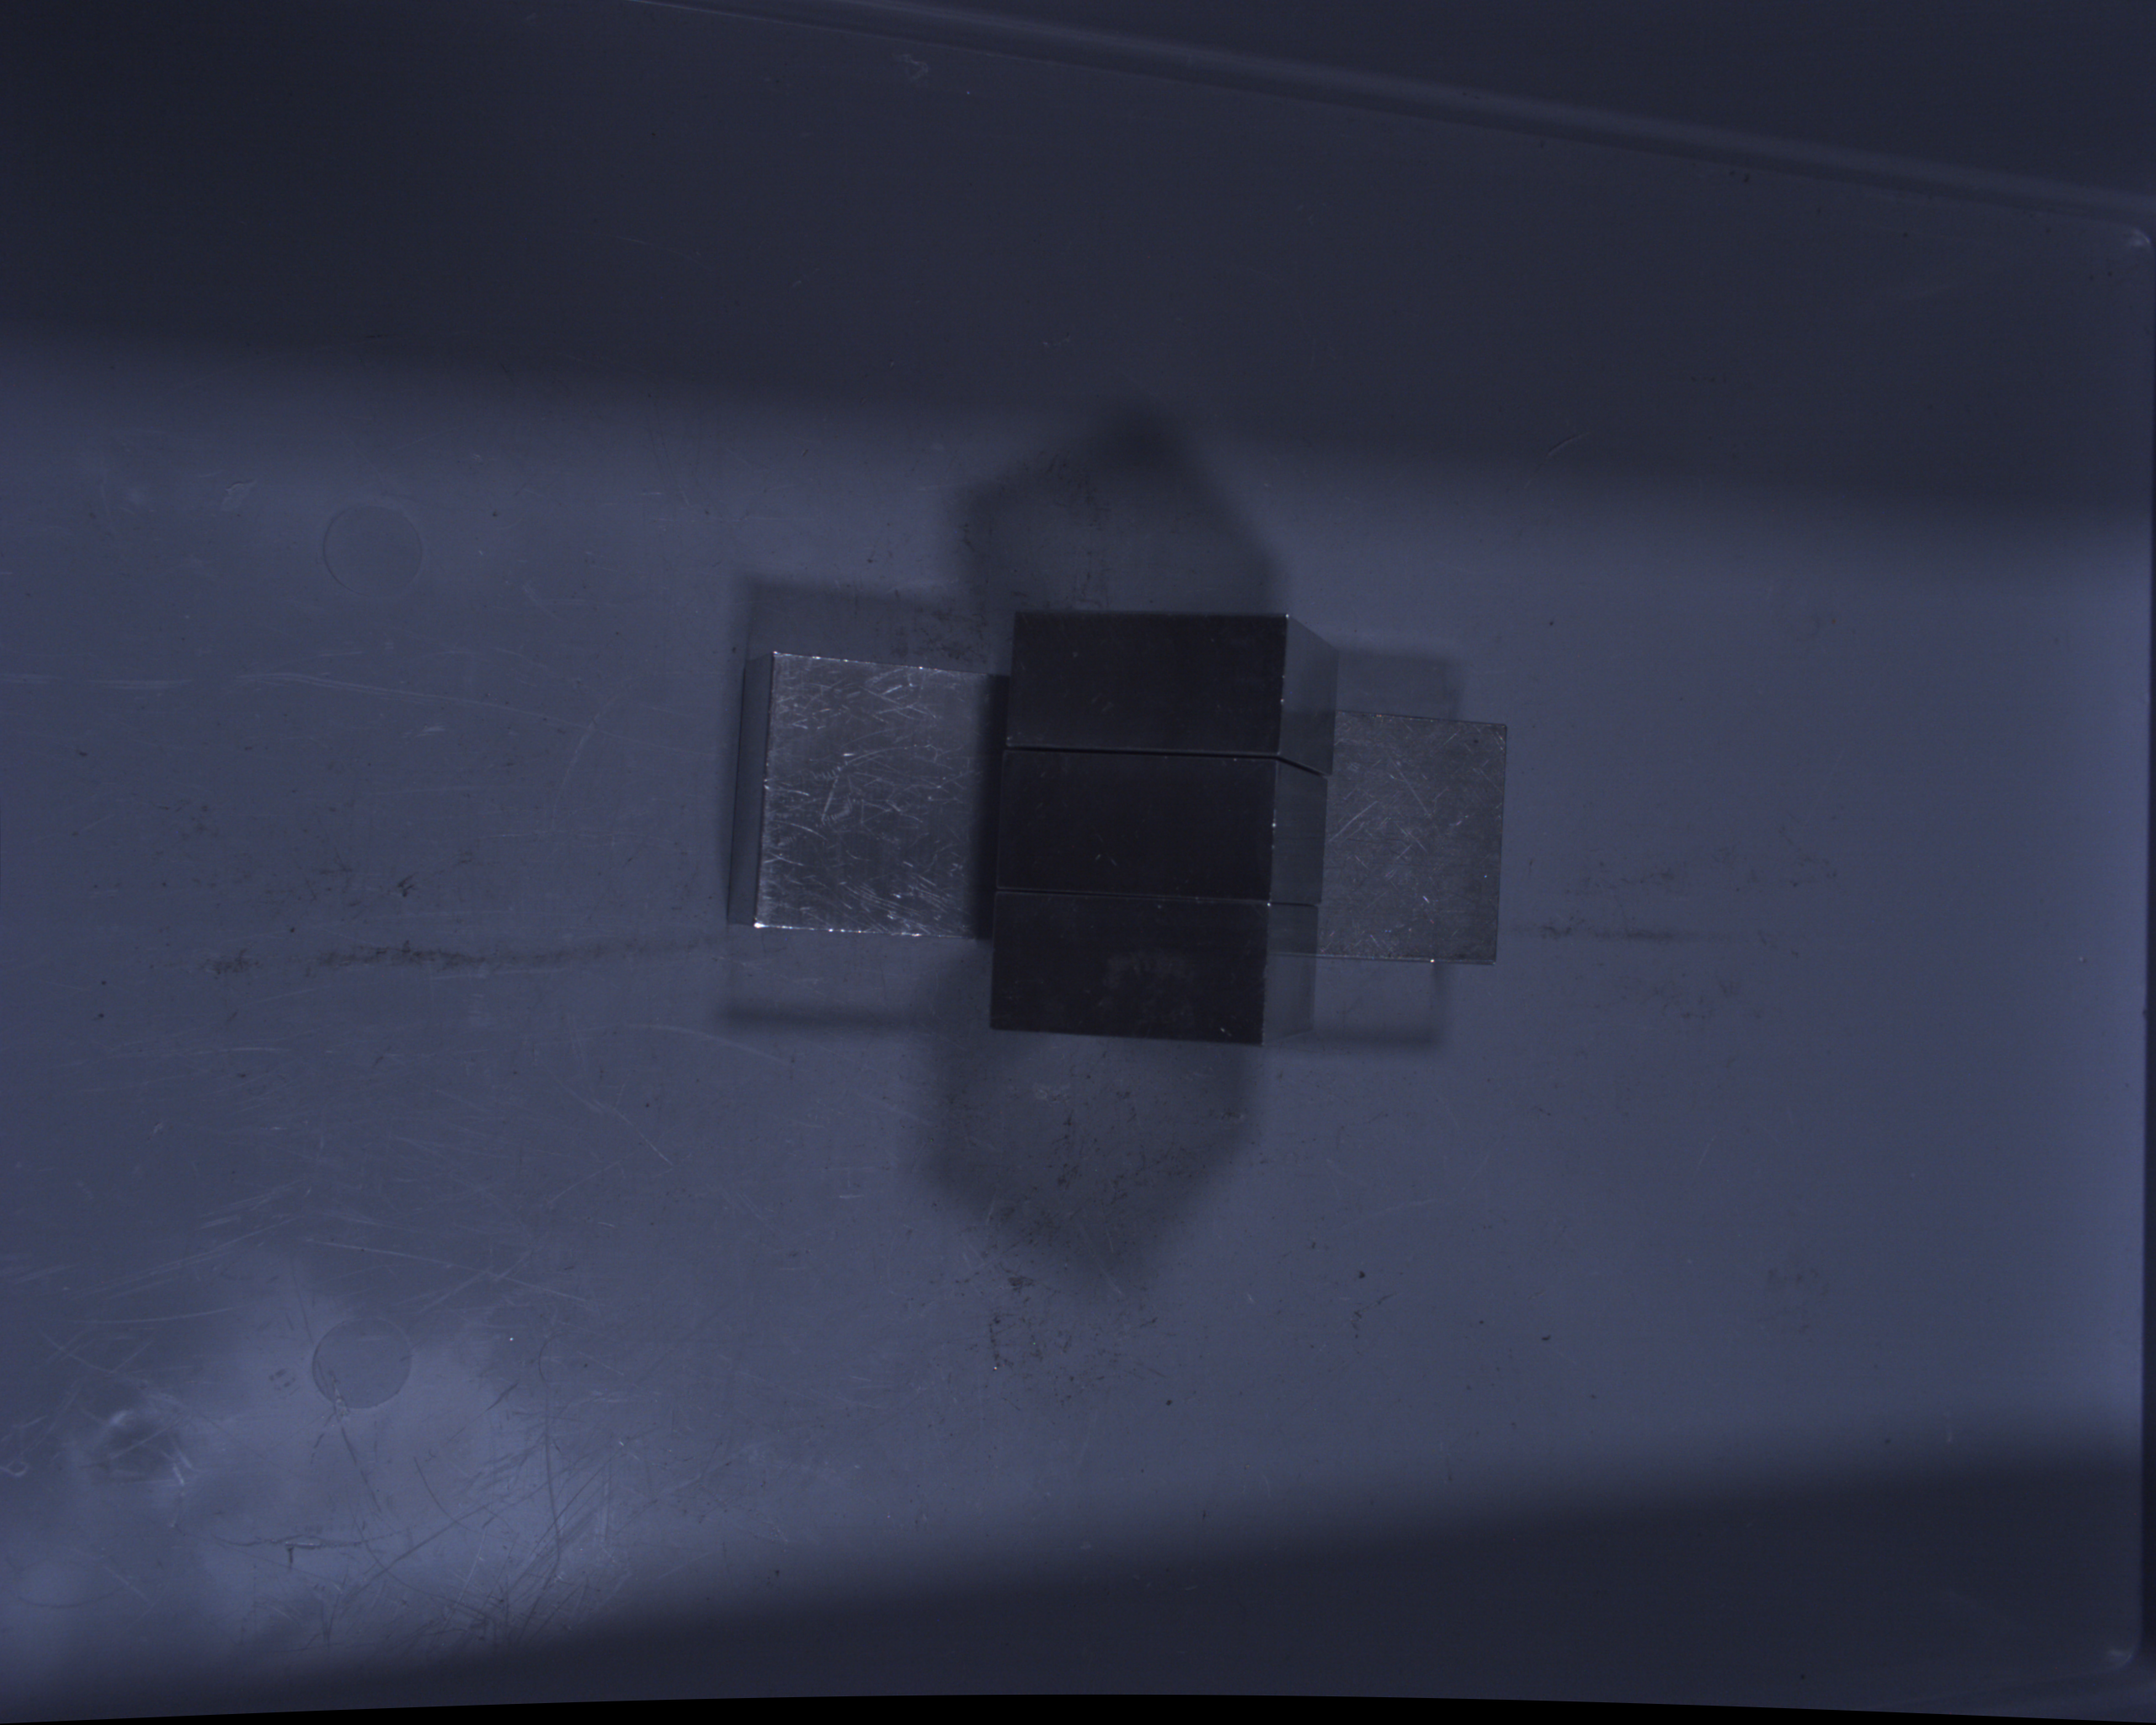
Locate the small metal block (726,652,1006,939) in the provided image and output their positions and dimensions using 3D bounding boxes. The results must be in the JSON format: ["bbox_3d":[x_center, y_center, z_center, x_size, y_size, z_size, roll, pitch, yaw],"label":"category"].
[{"bbox_3d":[-0.038,-0.012,0.396,0.050,0.025,0.050,4,89,-20],"label":"small metal block"}]

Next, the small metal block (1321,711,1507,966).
[{"bbox_3d":[0.059,-0.005,0.432,0.050,0.025,0.050,3,89,-20],"label":"small metal block"}]

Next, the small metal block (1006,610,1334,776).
[{"bbox_3d":[0.019,-0.031,0.392,0.050,0.050,0.025,3,89,16],"label":"small metal block"}]

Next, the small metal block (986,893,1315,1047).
[{"bbox_3d":[0.015,0.019,0.392,0.050,0.050,0.025,2,89,16],"label":"small metal block"}]

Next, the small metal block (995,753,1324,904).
[{"bbox_3d":[0.017,-0.006,0.392,0.050,0.050,0.025,2,89,16],"label":"small metal block"}]
